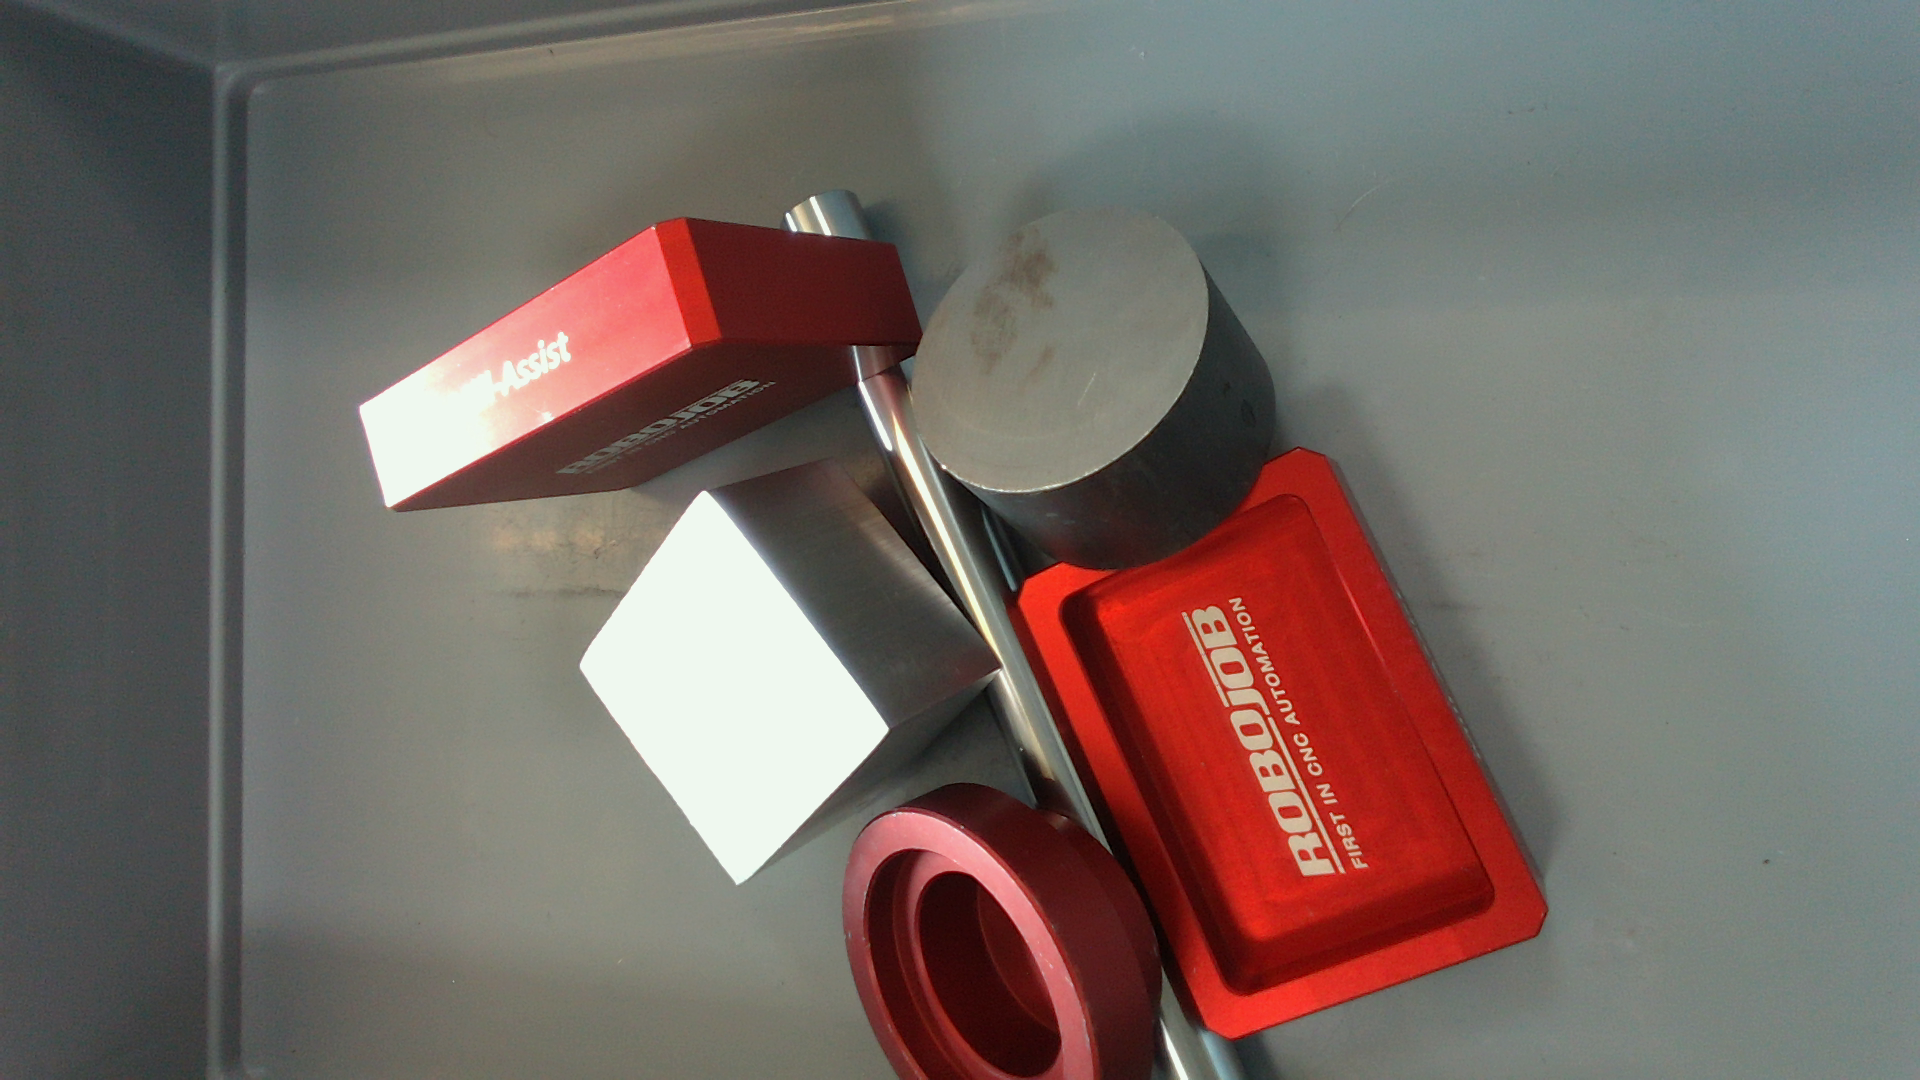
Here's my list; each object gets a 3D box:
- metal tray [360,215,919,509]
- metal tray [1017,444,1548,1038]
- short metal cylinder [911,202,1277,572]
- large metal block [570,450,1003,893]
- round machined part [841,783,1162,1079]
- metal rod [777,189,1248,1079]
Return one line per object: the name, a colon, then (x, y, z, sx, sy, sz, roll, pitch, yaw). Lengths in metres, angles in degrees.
metal tray: (-0.087, -0.045, 0.376, 0.130, 0.090, 0.030, -20, 85, 33)
metal tray: (0.082, 0.052, 0.362, 0.090, 0.030, 0.130, -26, 81, 18)
short metal cylinder: (0.035, -0.038, 0.353, 0.080, 0.050, 0.080, -14, 60, 26)
large metal block: (-0.049, 0.035, 0.380, 0.080, 0.050, 0.080, 50, 123, 13)
round machined part: (0.014, 0.111, 0.365, 0.098, 0.042, 0.098, 20, 118, 44)
metal rod: (0.017, 0.038, 0.388, 0.025, 0.025, 0.300, -26, 81, 18)
